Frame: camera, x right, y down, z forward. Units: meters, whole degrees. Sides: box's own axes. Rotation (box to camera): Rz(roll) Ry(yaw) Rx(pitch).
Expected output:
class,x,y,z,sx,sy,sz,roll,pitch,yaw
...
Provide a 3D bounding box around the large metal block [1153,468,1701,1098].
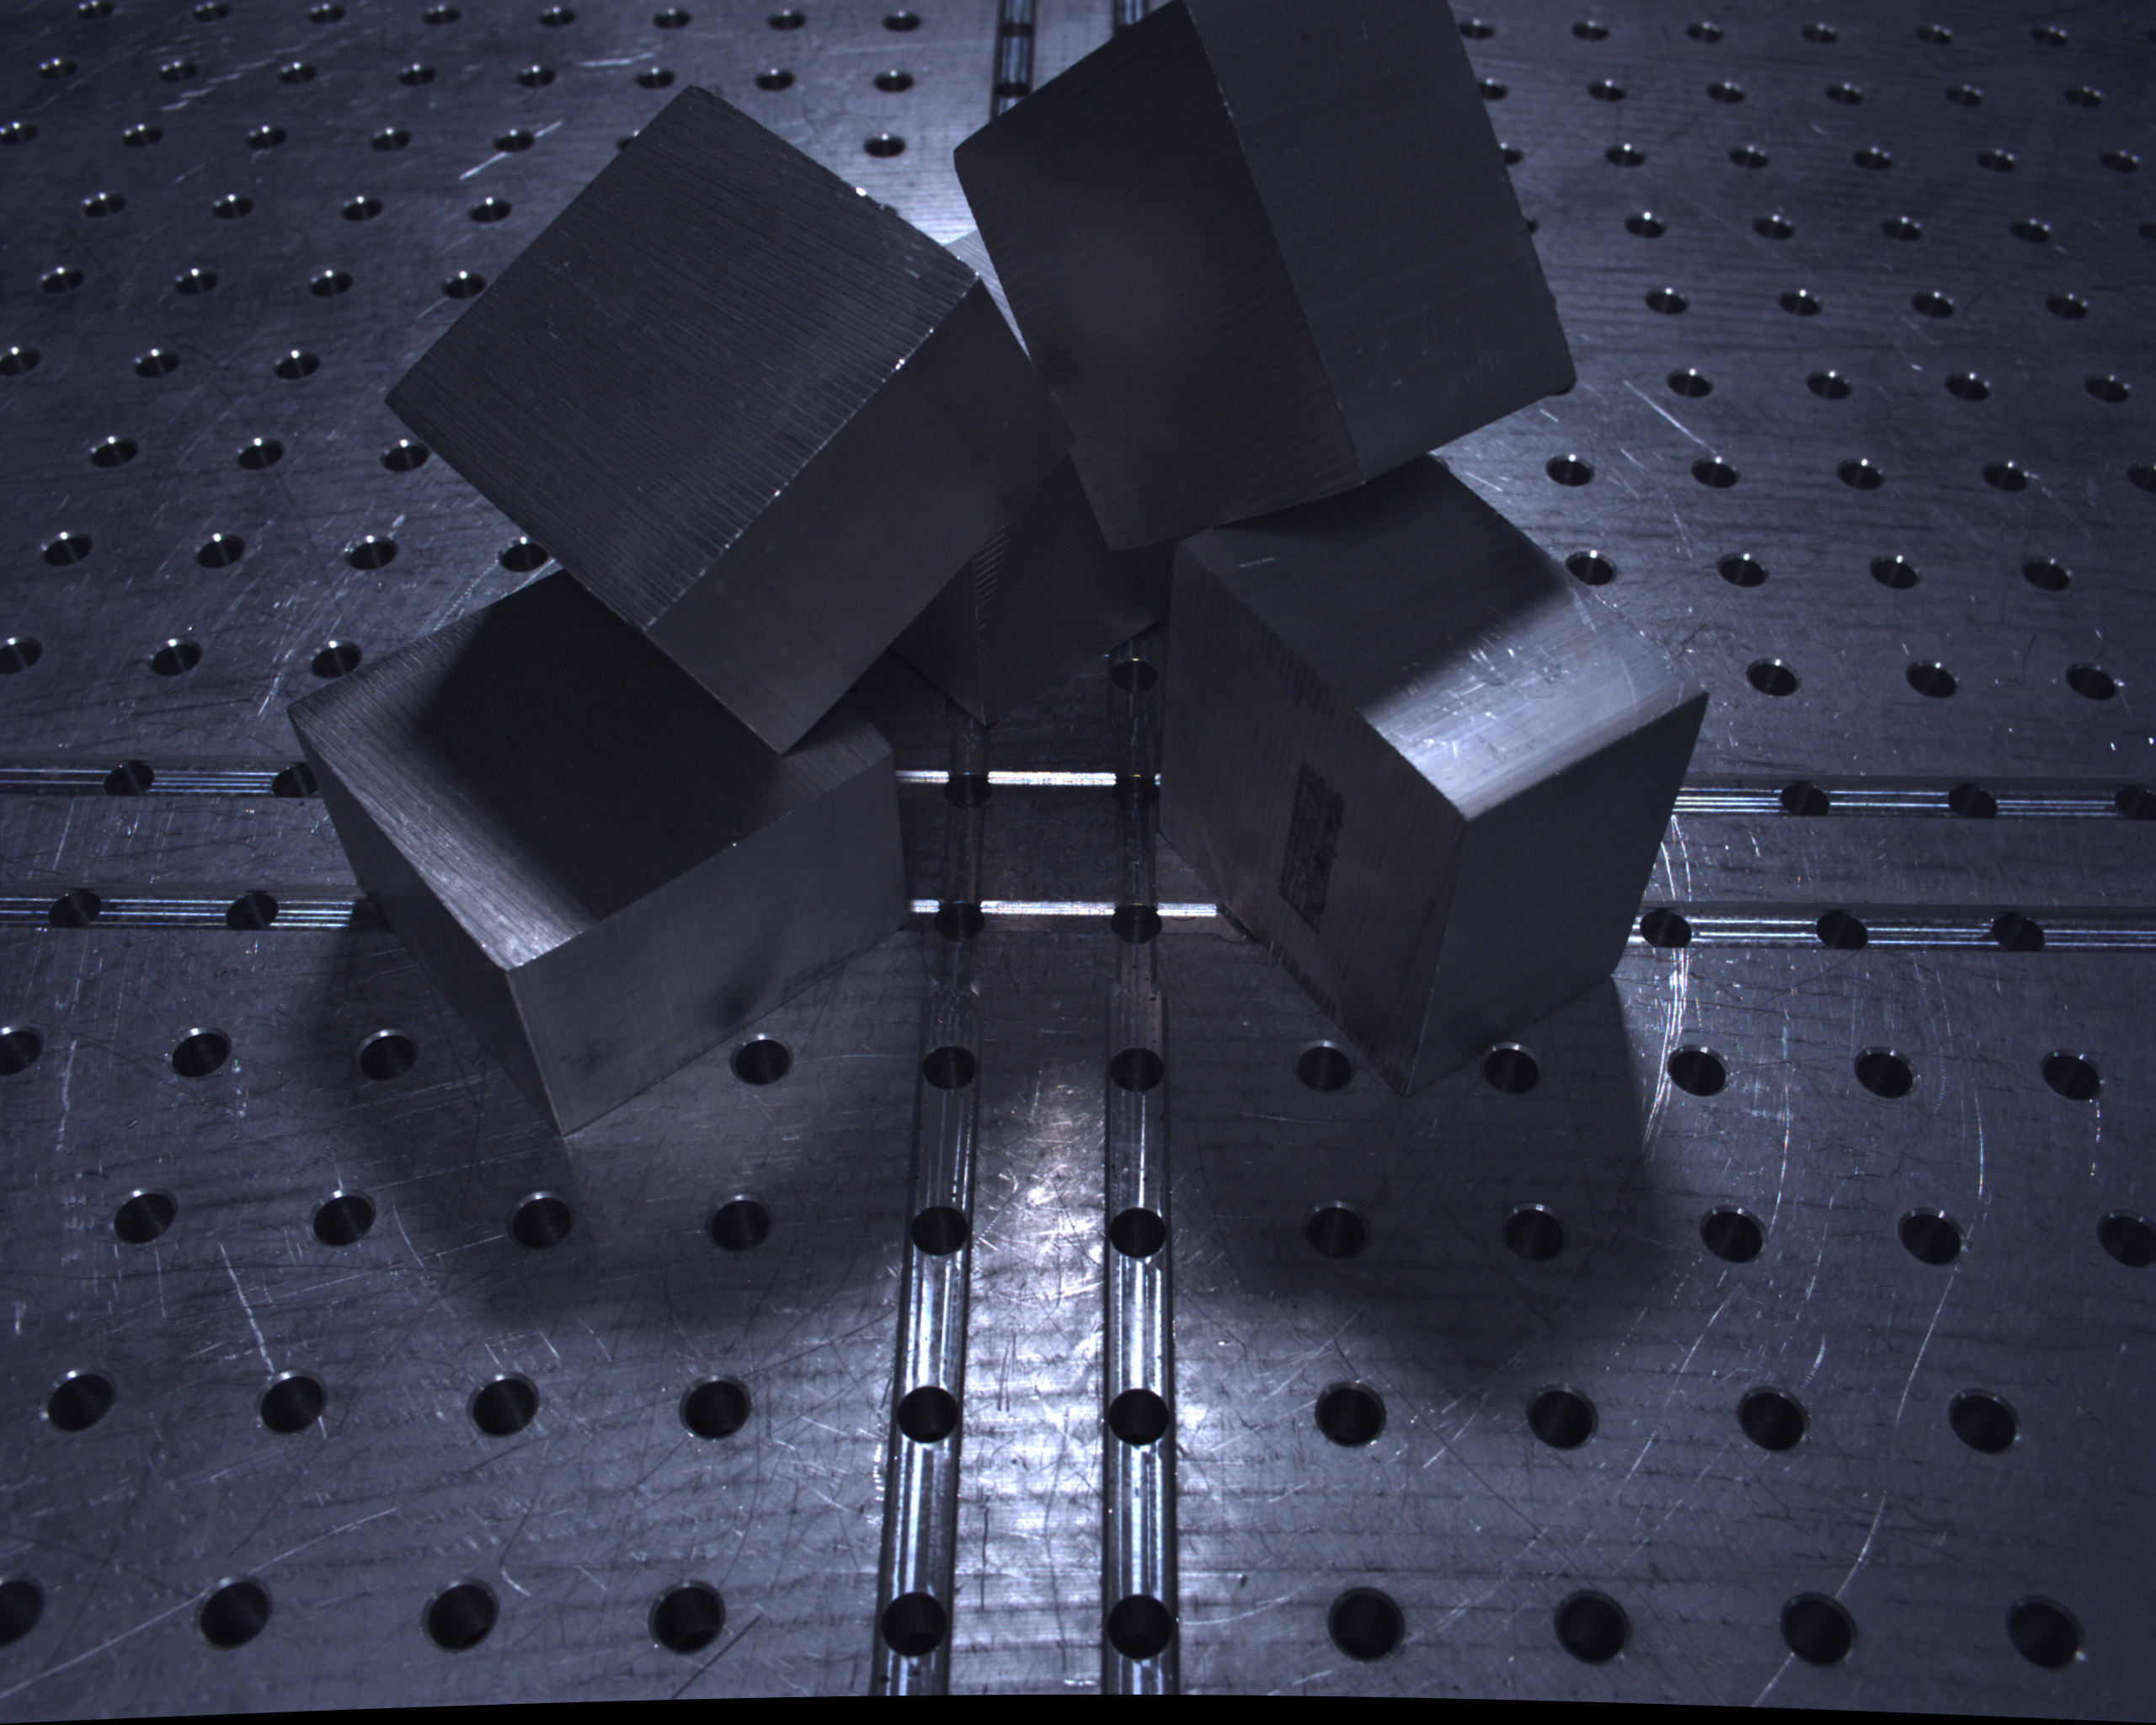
class,x,y,z,sx,sy,sz,roll,pitch,yaw
large metal block,0.059,-0.018,0.386,0.050,0.080,0.080,-27,56,-21

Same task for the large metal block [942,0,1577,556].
class,x,y,z,sx,sy,sz,roll,pitch,yaw
large metal block,0.030,-0.106,0.369,0.050,0.080,0.080,-29,13,-28

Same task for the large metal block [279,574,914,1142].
class,x,y,z,sx,sy,sz,roll,pitch,yaw
large metal block,-0.089,-0.008,0.396,0.081,0.050,0.080,-32,57,-25

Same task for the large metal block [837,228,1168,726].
class,x,y,z,sx,sy,sz,roll,pitch,yaw
large metal block,-0.008,-0.089,0.445,0.080,0.080,0.050,-34,58,-26

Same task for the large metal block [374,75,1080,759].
class,x,y,z,sx,sy,sz,roll,pitch,yaw
large metal block,-0.062,-0.079,0.372,0.080,0.050,0.080,40,86,28
